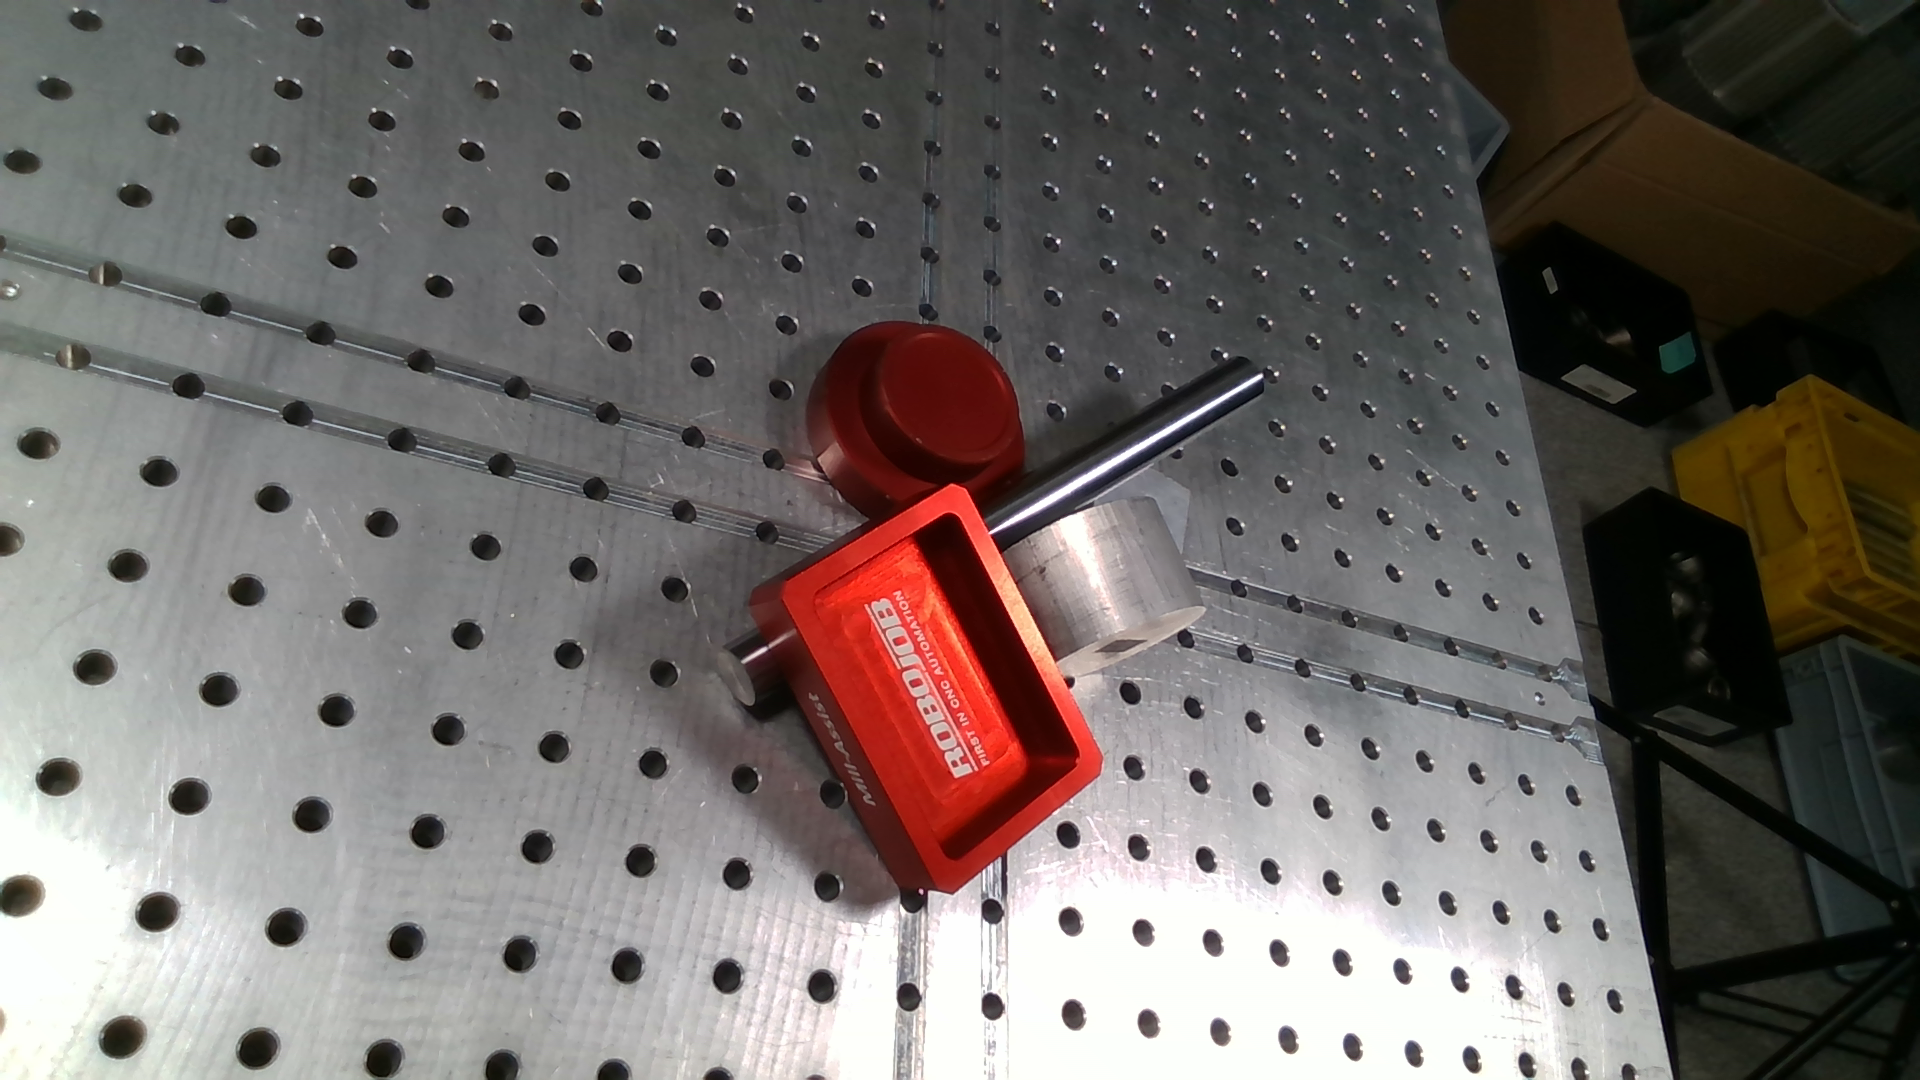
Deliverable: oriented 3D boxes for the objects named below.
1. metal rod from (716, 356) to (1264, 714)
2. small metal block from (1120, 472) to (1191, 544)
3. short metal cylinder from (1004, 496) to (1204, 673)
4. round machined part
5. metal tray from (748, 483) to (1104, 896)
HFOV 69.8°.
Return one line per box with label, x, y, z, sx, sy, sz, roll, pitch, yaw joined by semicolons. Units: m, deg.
metal rod;0.027;-0.012;0.590;0.300;0.025;0.025;-31;83;-31
small metal block;0.078;-0.009;0.643;0.050;0.025;0.050;26;54;-18
short metal cylinder;0.056;0.023;0.575;0.080;0.080;0.050;-12;72;-36
round machined part;-0.014;-0.055;0.598;0.098;0.042;0.098;14;59;-25
metal tray;-0.010;0.056;0.522;0.090;0.030;0.130;-32;100;-31
